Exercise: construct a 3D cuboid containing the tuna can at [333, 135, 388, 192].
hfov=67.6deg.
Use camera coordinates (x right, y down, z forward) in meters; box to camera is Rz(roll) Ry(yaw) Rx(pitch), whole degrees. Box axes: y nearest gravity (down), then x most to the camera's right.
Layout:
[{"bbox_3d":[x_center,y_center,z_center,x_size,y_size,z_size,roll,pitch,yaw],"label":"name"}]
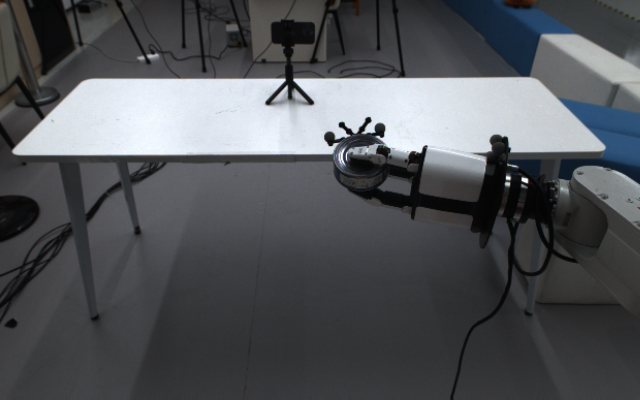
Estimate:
[{"bbox_3d":[0.067,-0.051,0.723,0.085,0.034,0.085,-3,59,5],"label":"tuna can"}]
